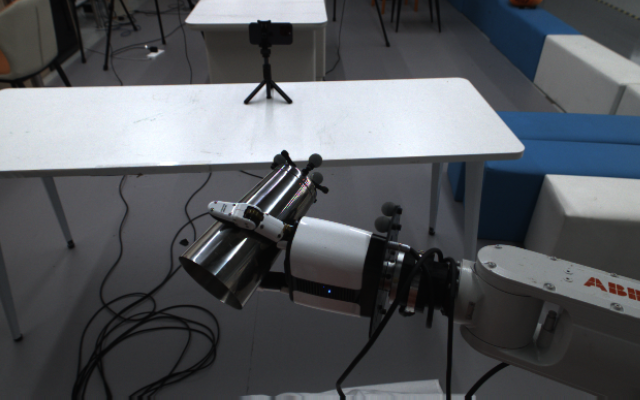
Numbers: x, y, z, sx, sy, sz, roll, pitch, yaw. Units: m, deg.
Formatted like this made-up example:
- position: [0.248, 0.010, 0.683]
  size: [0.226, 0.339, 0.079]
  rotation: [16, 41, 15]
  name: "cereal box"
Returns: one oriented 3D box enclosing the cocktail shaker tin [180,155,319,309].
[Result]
- position: [-0.078, 0.031, 0.585]
  size: [0.093, 0.093, 0.170]
  rotation: [23, 57, 27]
  name: "cocktail shaker tin"
